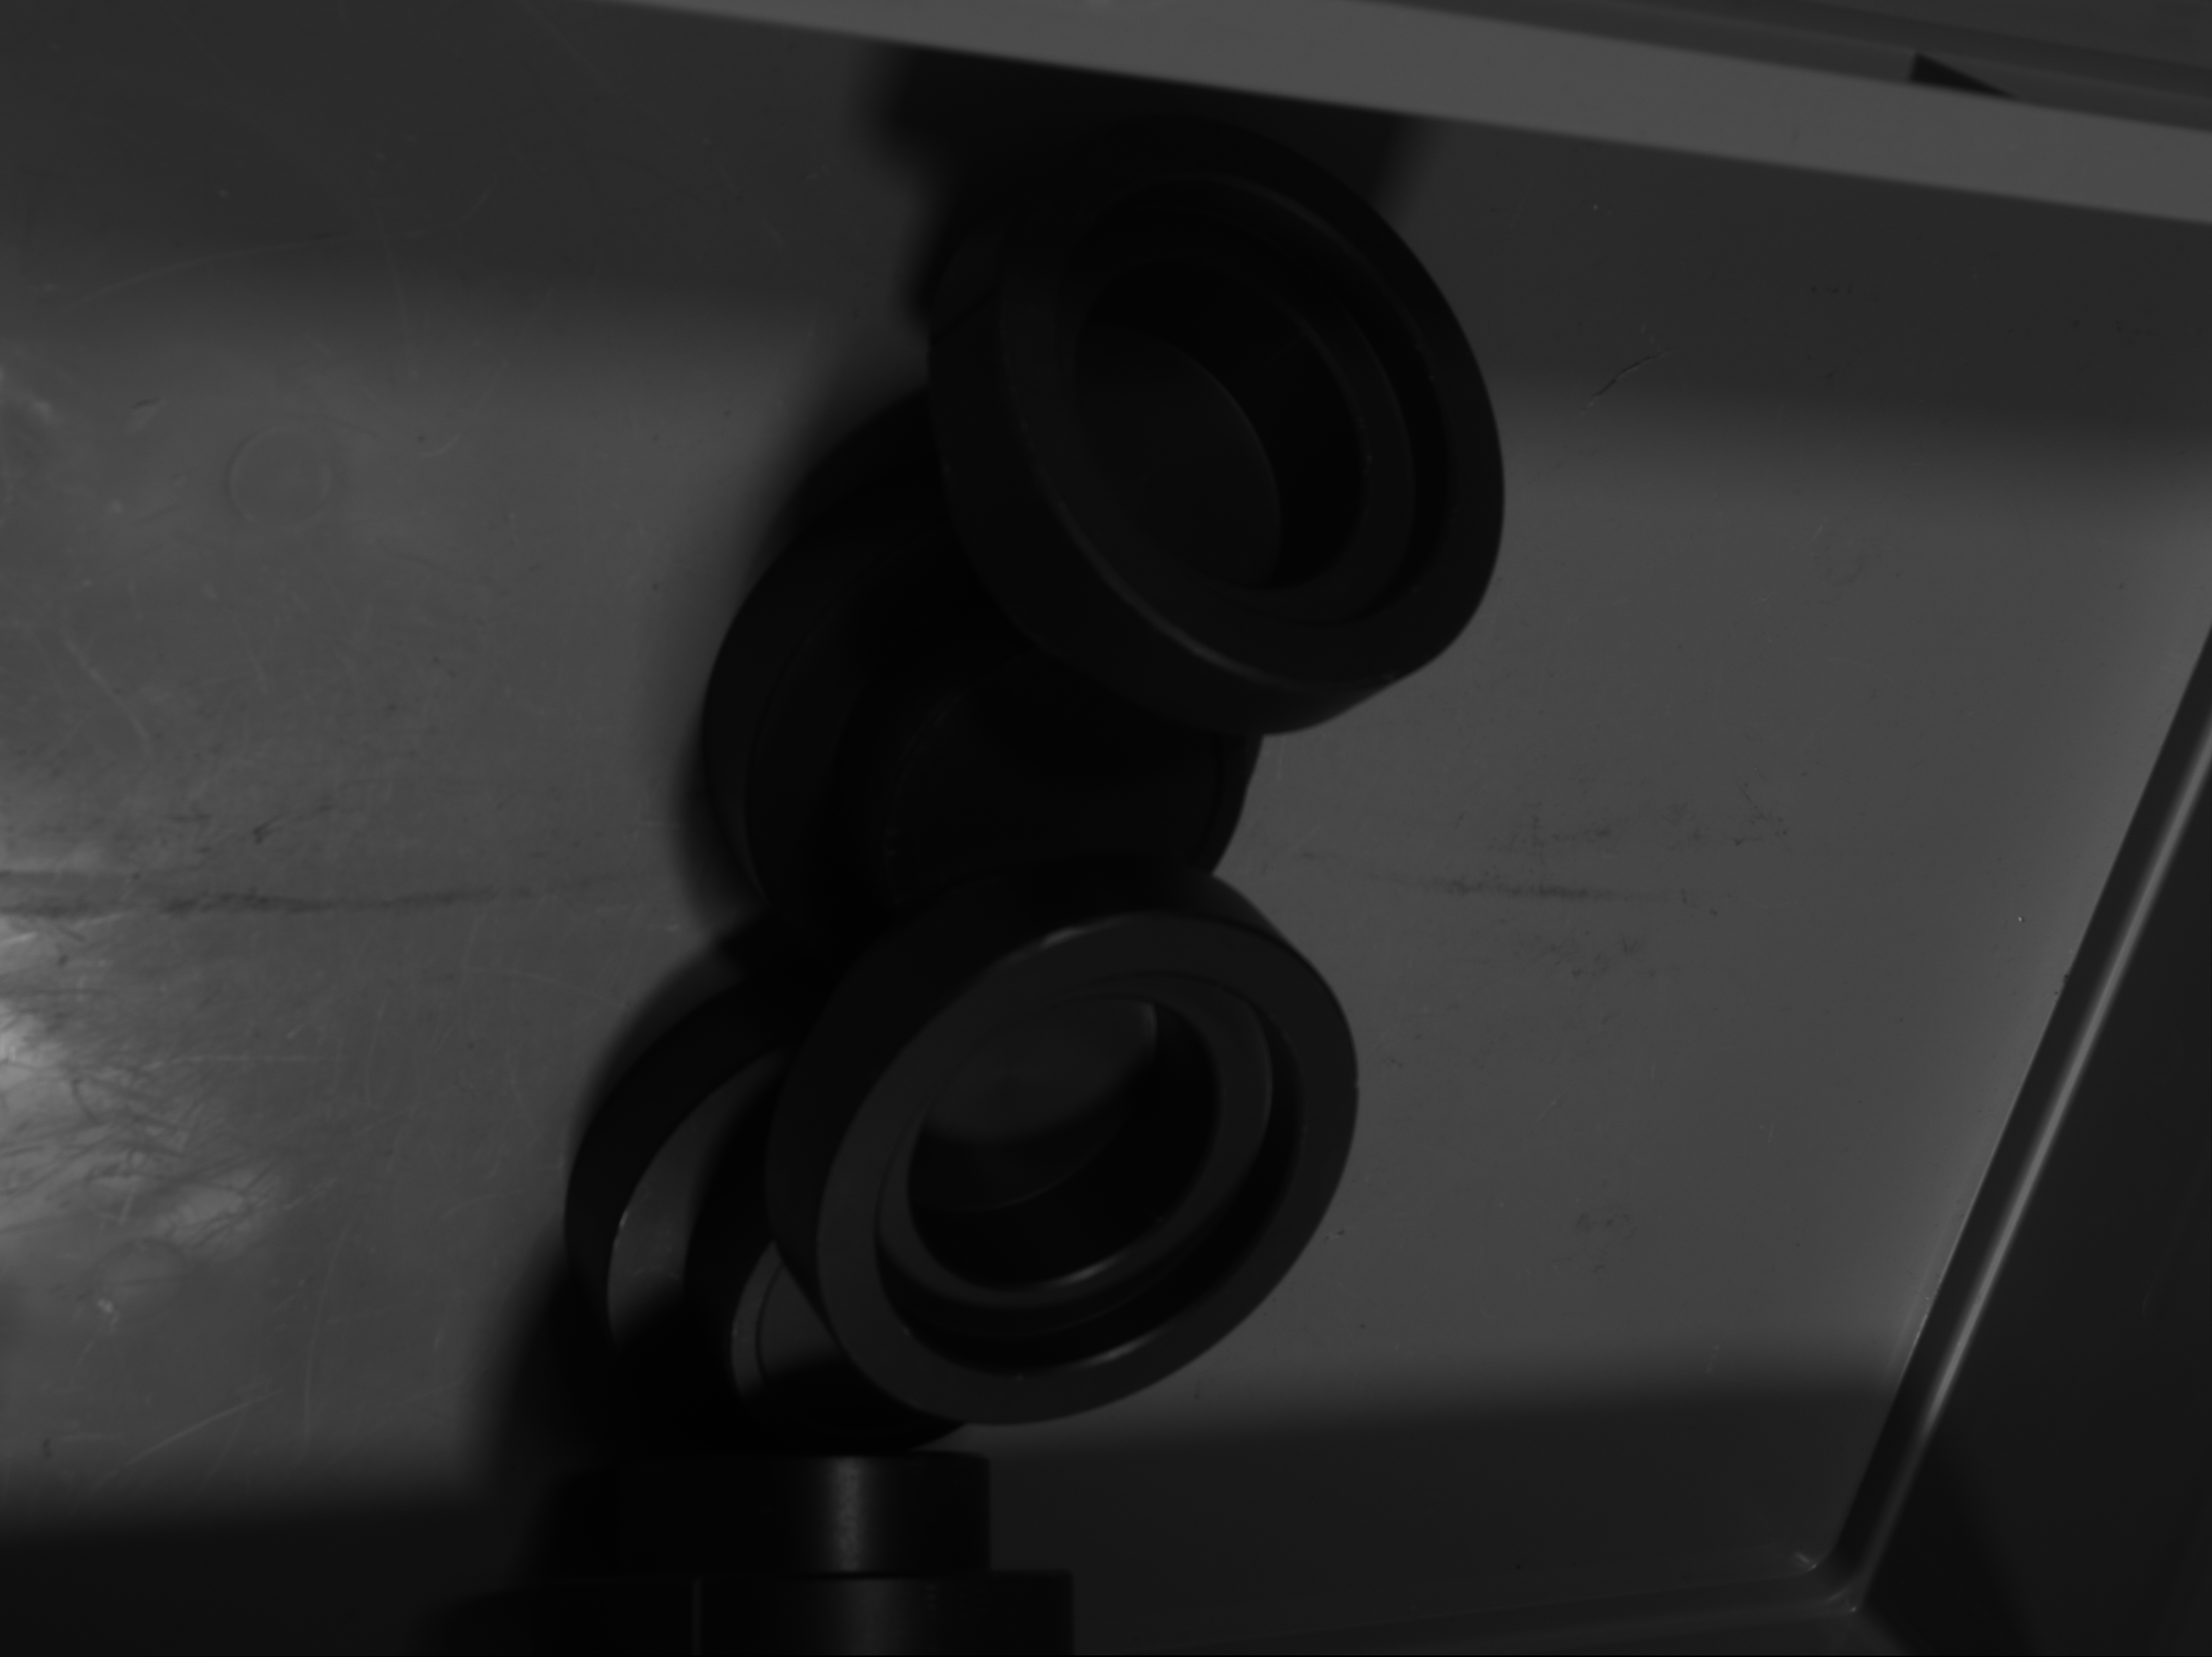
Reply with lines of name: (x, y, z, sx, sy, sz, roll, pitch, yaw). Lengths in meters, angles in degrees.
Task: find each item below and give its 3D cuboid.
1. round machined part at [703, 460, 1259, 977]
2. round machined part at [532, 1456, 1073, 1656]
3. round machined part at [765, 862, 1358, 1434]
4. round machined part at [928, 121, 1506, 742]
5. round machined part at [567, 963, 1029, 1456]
round machined part: (-0.015, -0.012, 0.621, 0.098, 0.042, 0.098, -15, 125, -22)
round machined part: (-0.055, 0.136, 0.667, 0.098, 0.098, 0.042, 7, 77, -33)
round machined part: (-0.011, 0.048, 0.605, 0.098, 0.042, 0.098, -15, 125, -22)
round machined part: (0.013, -0.059, 0.585, 0.098, 0.098, 0.042, 8, 157, -33)
round machined part: (-0.044, 0.074, 0.658, 0.098, 0.042, 0.098, -15, 125, -22)
